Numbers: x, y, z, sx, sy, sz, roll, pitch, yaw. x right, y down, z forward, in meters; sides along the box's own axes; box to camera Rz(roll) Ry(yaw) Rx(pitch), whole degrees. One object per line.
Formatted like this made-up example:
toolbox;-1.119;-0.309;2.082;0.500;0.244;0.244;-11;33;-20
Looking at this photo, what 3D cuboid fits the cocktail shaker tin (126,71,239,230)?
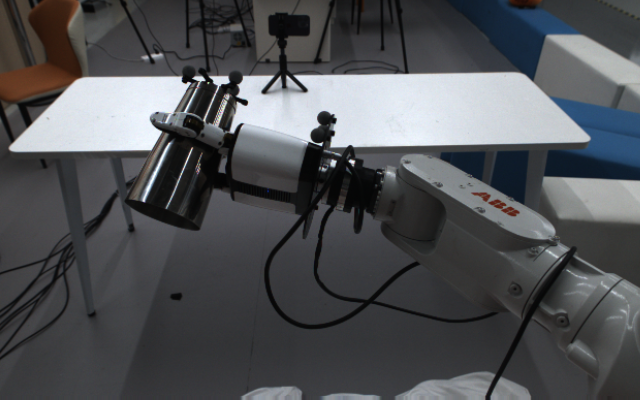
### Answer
cocktail shaker tin;-0.163;-0.058;0.599;0.093;0.093;0.170;12;71;14
